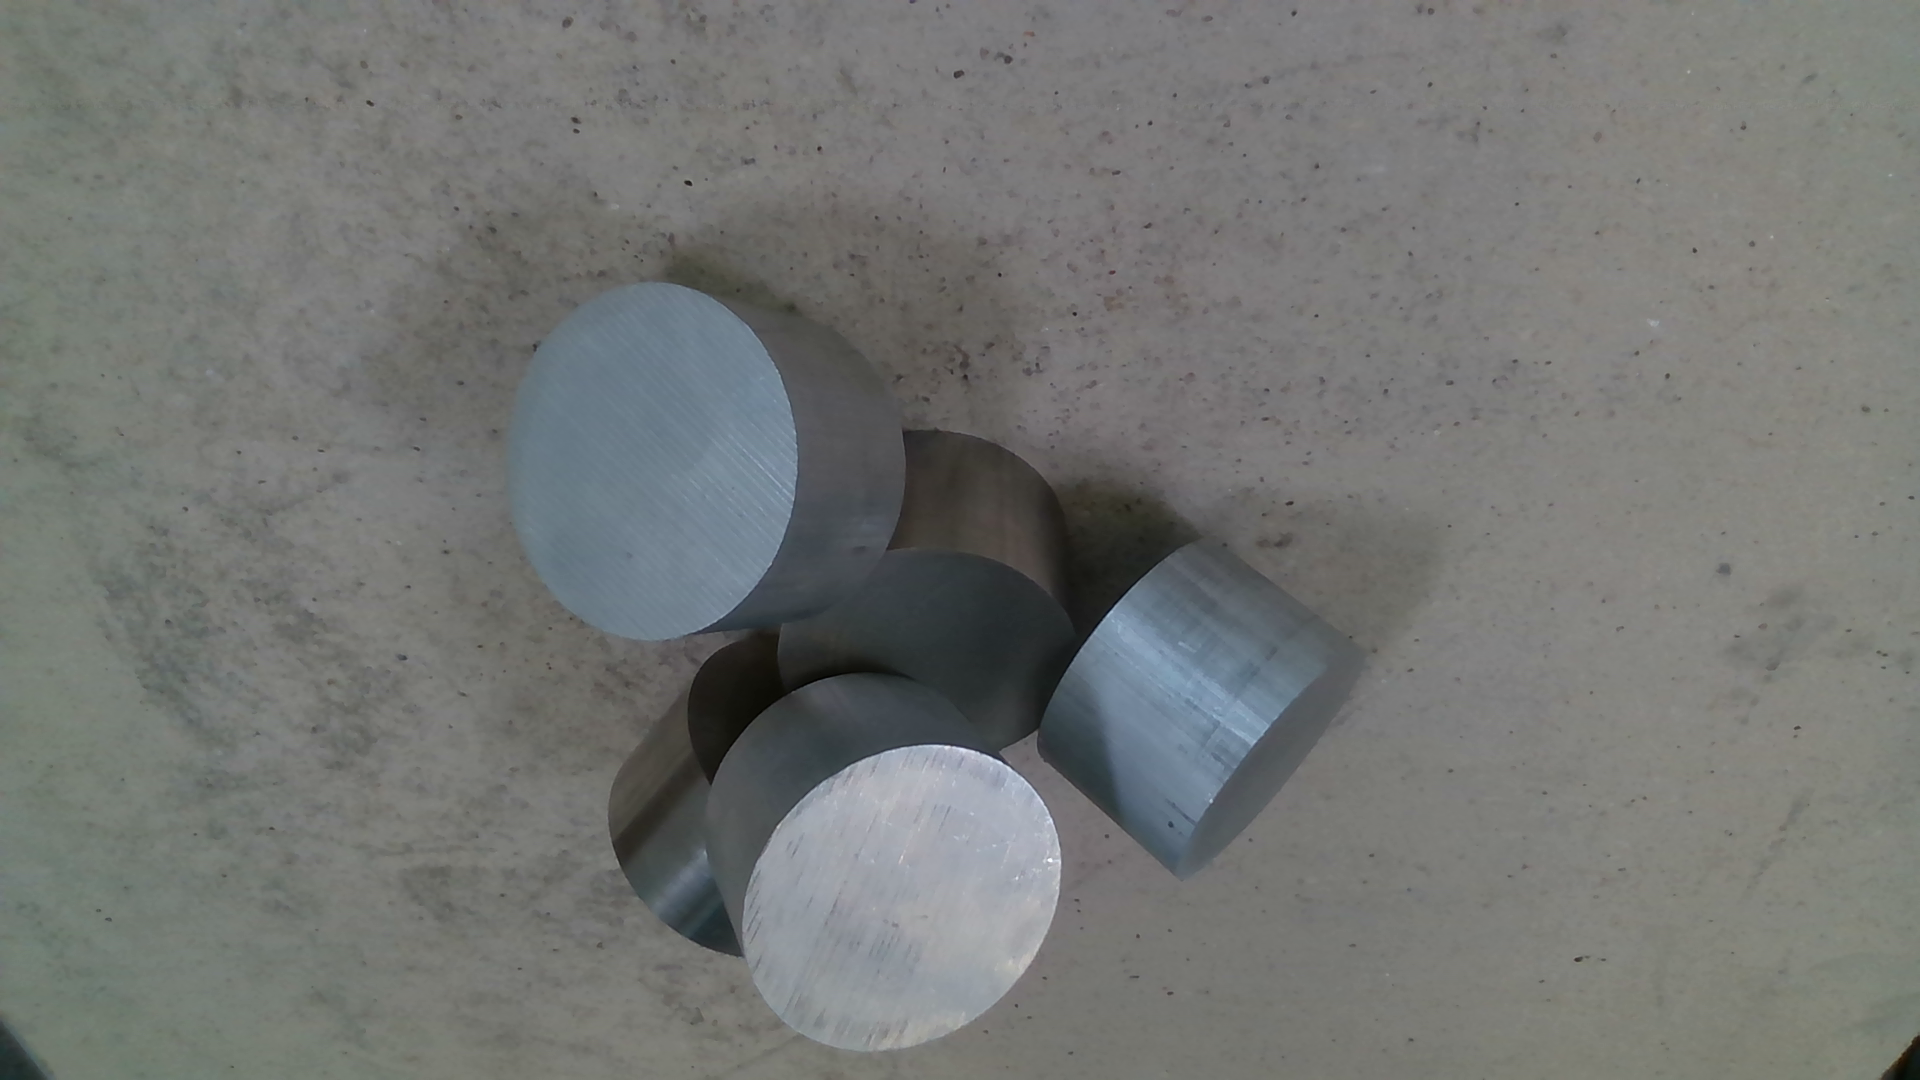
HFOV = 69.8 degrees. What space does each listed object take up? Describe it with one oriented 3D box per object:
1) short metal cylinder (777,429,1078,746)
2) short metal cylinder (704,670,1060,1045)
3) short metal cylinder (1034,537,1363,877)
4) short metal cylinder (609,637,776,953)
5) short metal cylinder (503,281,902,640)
[{"bbox_3d":[-0.009,0.016,0.386,0.080,0.050,0.080,0,131,0],"label":"short metal cylinder"},{"bbox_3d":[-0.021,0.080,0.353,0.080,0.050,0.080,-6,107,-19],"label":"short metal cylinder"},{"bbox_3d":[0.067,0.046,0.384,0.050,0.080,0.080,39,134,25],"label":"short metal cylinder"},{"bbox_3d":[-0.059,0.077,0.418,0.080,0.080,0.050,28,125,-21],"label":"short metal cylinder"},{"bbox_3d":[-0.061,-0.018,0.331,0.080,0.050,0.080,1,92,24],"label":"short metal cylinder"}]
